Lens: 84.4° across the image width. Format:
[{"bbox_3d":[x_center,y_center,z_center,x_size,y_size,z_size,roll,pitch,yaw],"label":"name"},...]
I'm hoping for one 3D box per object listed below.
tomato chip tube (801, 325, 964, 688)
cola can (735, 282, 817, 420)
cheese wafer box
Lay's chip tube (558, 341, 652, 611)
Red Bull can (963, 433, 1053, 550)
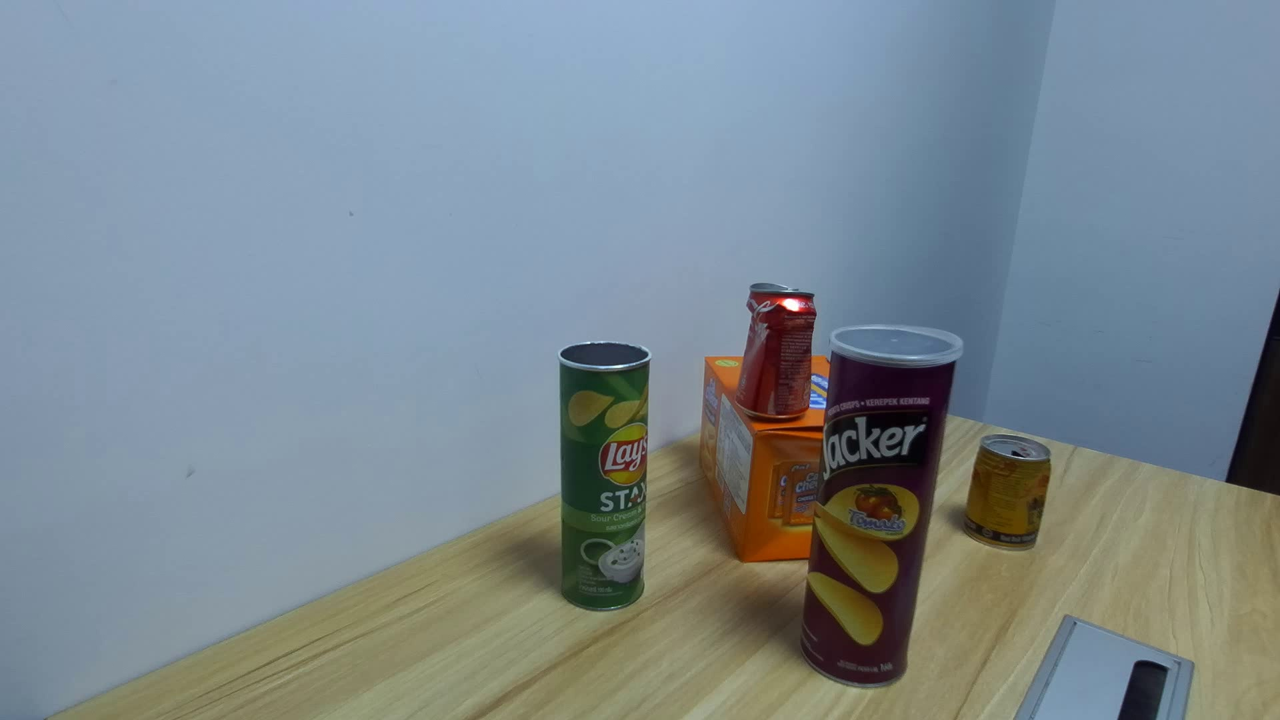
[{"bbox_3d":[0.158,0.099,0.477,0.078,0.234,0.078,1,18,0],"label":"tomato chip tube"},{"bbox_3d":[0.117,-0.007,0.603,0.065,0.112,0.069,5,17,13],"label":"cola can"},{"bbox_3d":[0.156,0.087,0.719,0.150,0.137,0.226,1,17,-7],"label":"cheese wafer box"},{"bbox_3d":[-0.027,0.090,0.553,0.071,0.202,0.071,2,16,0],"label":"Lay's chip tube"},{"bbox_3d":[0.351,0.125,0.673,0.069,0.092,0.069,1,16,0],"label":"Red Bull can"}]
